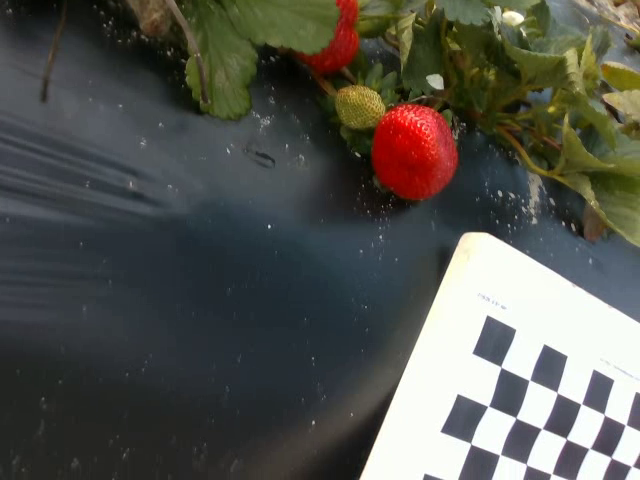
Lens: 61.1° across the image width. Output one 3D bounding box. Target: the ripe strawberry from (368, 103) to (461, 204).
[{"bbox_3d":[0.024,-0.020,0.122,0.022,0.025,0.030,8,7,2],"label":"ripe strawberry"}]
